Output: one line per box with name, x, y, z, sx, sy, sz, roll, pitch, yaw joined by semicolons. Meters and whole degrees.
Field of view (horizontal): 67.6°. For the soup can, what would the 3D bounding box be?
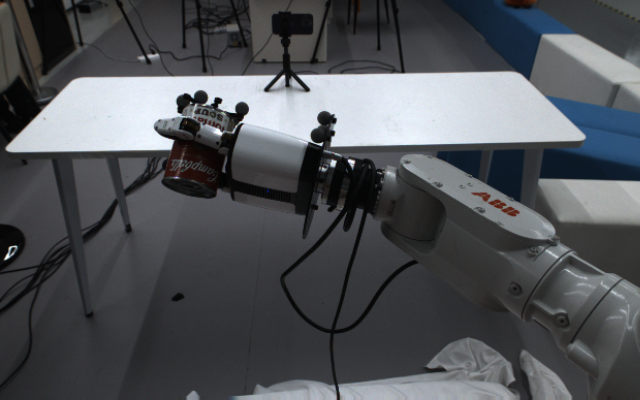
soup can;-0.151;-0.060;0.604;0.067;0.067;0.101;8;73;8
